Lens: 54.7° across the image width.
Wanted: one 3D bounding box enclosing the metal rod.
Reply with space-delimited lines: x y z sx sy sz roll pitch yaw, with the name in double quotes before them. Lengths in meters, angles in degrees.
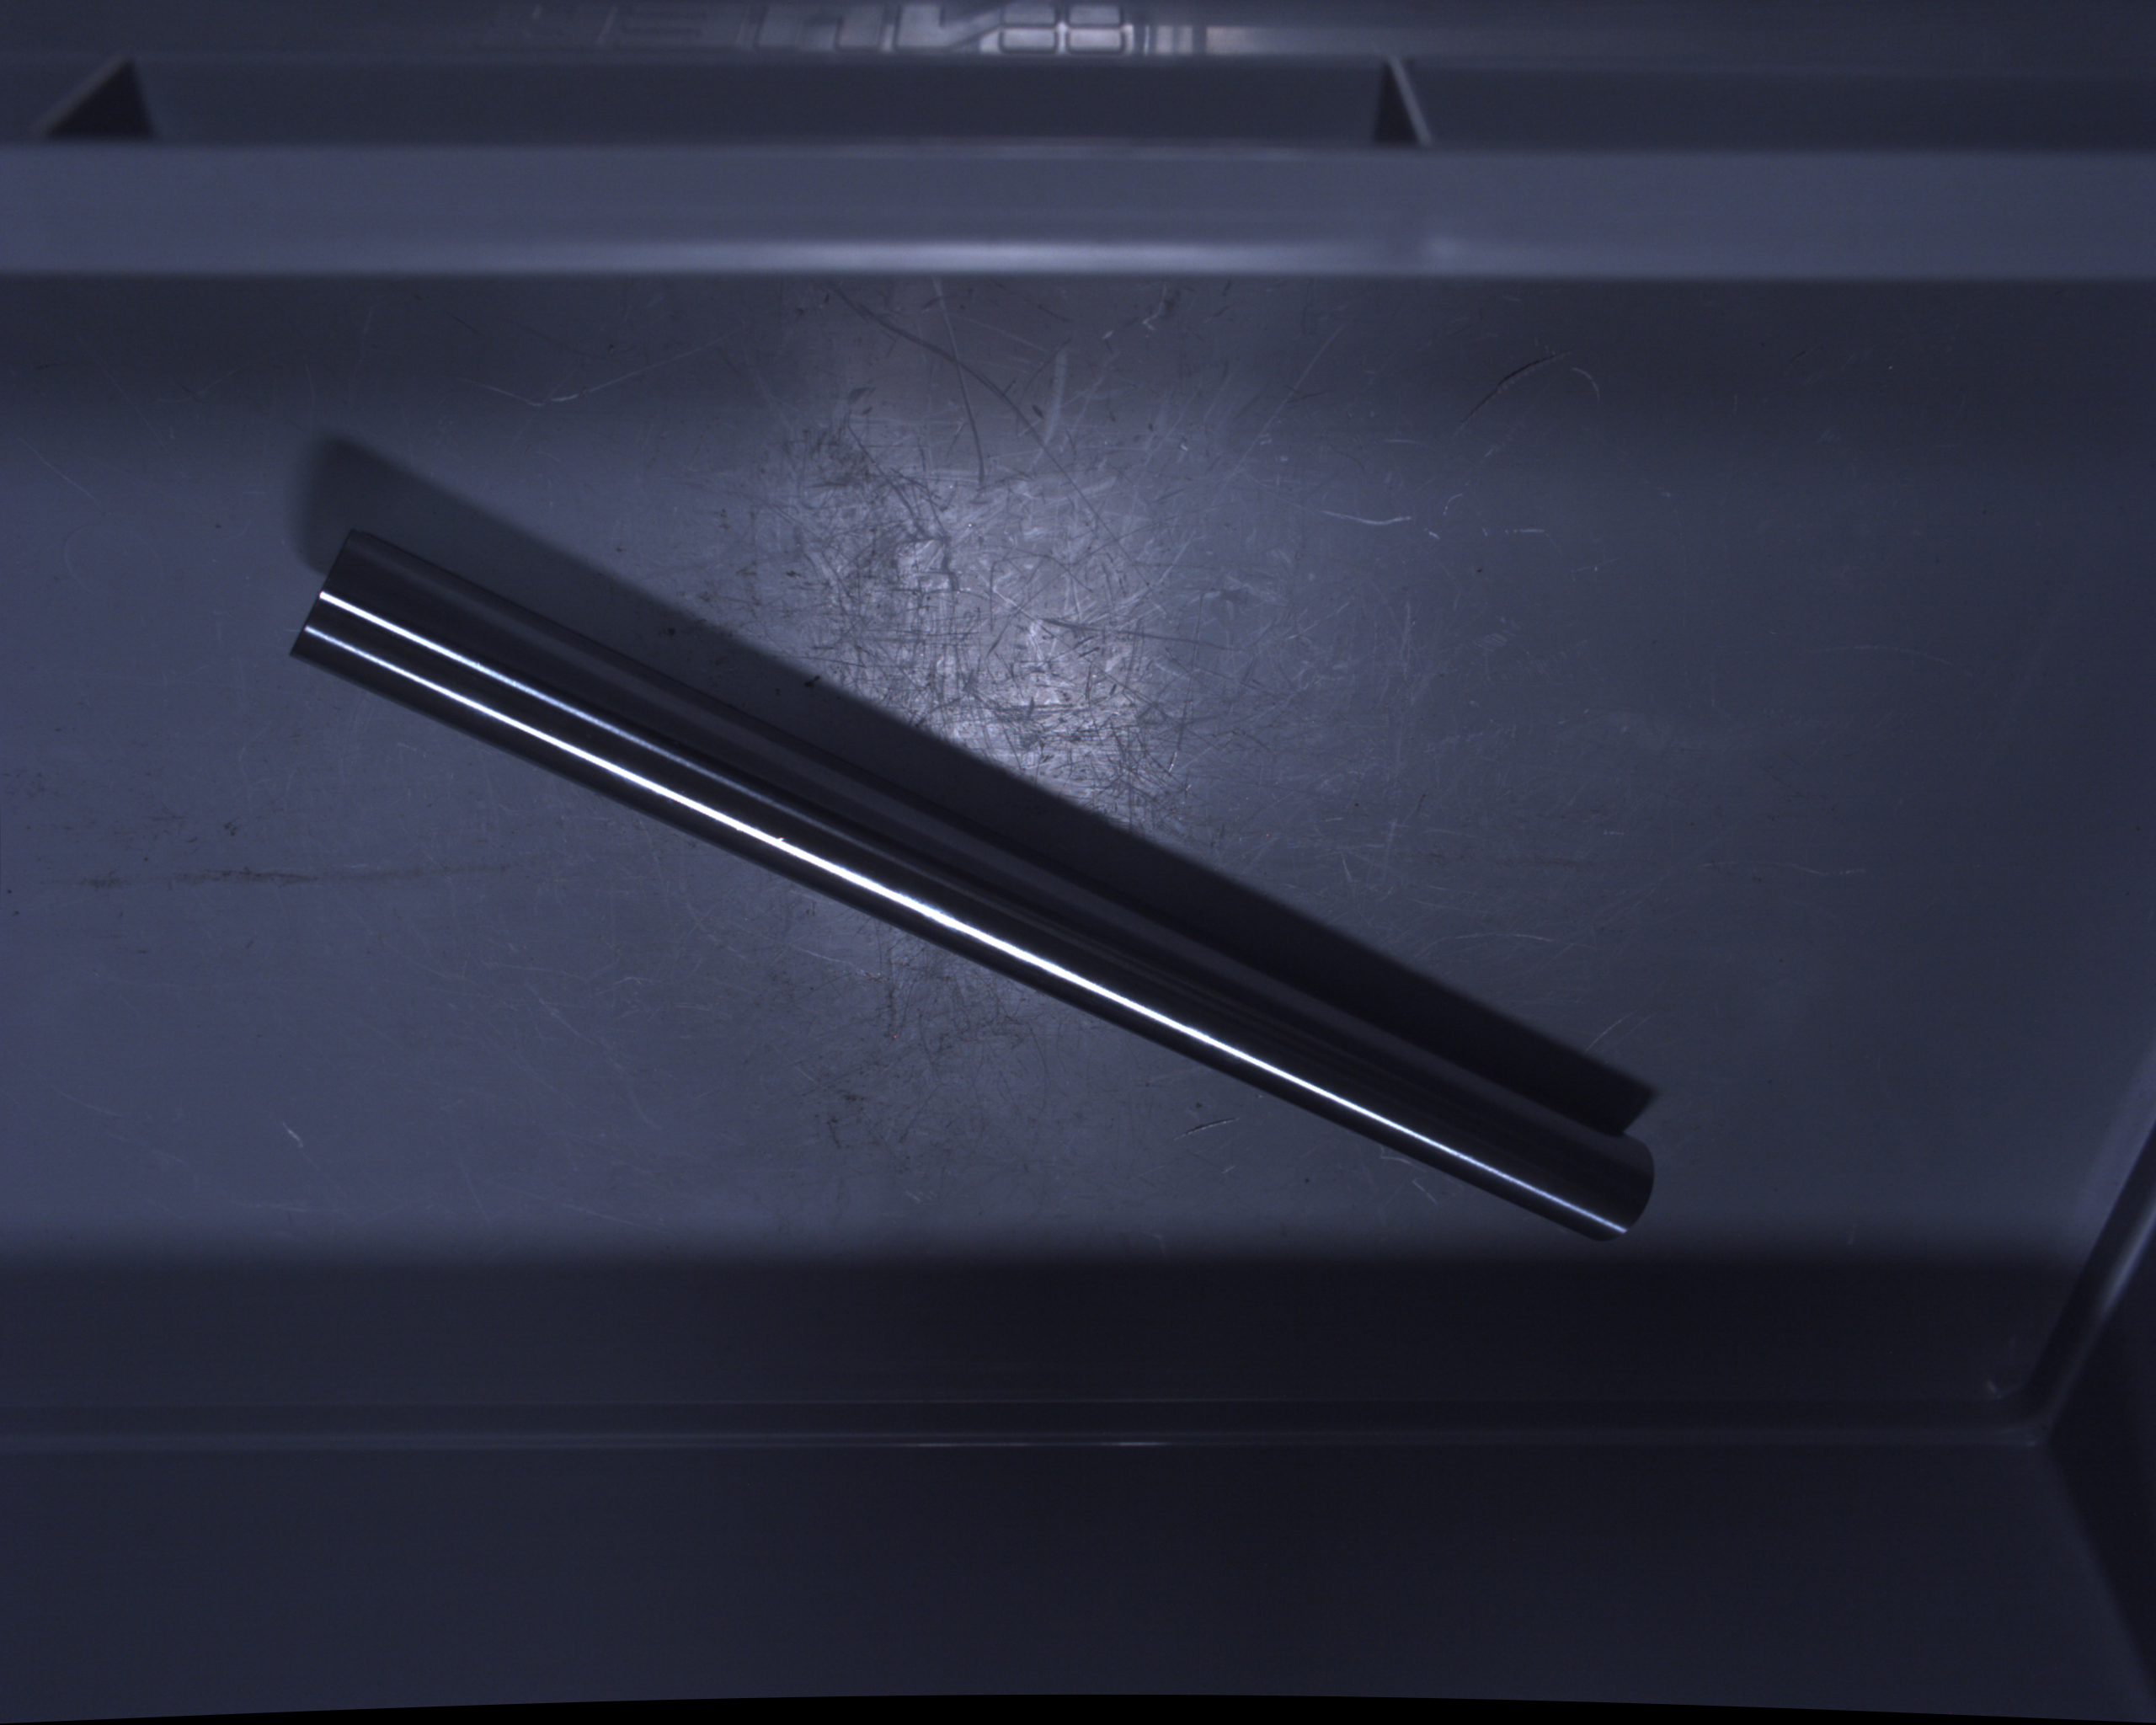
"metal rod" -0.005 0.014 0.418 0.302 0.025 0.025 26 125 -21
